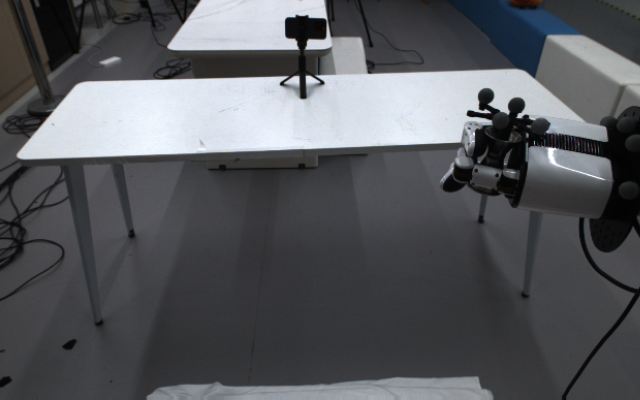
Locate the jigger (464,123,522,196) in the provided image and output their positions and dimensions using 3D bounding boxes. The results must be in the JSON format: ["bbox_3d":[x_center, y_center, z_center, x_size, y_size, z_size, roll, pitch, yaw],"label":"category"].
[{"bbox_3d":[0.199,-0.044,0.554,0.043,0.071,0.043,6,32,-4],"label":"jigger"}]
